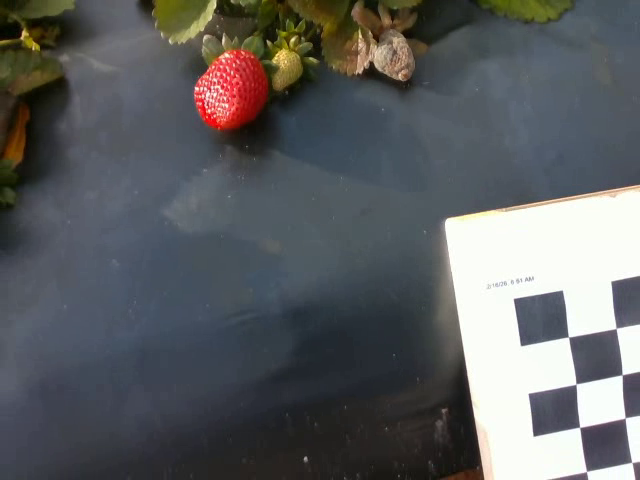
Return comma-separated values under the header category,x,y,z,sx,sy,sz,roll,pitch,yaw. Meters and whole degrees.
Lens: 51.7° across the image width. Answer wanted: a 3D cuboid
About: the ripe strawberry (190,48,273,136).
category,x,y,z,sx,sy,sz,roll,pitch,yaw
ripe strawberry,-0.046,-0.074,0.341,0.045,0.051,0.058,-6,45,-3
